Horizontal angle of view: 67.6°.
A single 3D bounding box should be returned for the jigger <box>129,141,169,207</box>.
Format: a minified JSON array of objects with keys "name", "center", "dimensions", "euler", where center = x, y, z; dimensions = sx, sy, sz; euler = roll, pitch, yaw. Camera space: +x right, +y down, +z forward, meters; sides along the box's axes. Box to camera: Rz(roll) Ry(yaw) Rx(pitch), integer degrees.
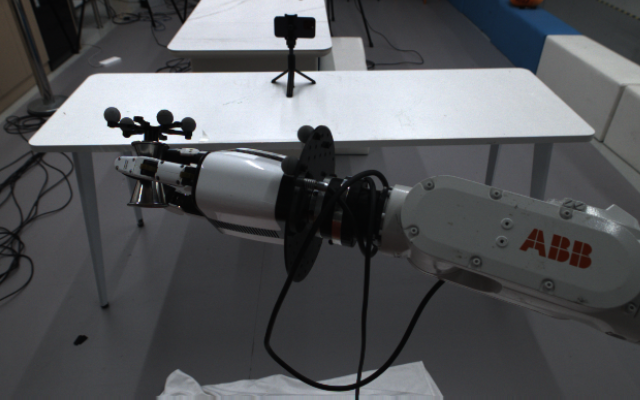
[{"name":"jigger","center":[-0.186,-0.027,0.528],"dimensions":[0.043,0.071,0.043],"euler":[0,-5,0]}]
